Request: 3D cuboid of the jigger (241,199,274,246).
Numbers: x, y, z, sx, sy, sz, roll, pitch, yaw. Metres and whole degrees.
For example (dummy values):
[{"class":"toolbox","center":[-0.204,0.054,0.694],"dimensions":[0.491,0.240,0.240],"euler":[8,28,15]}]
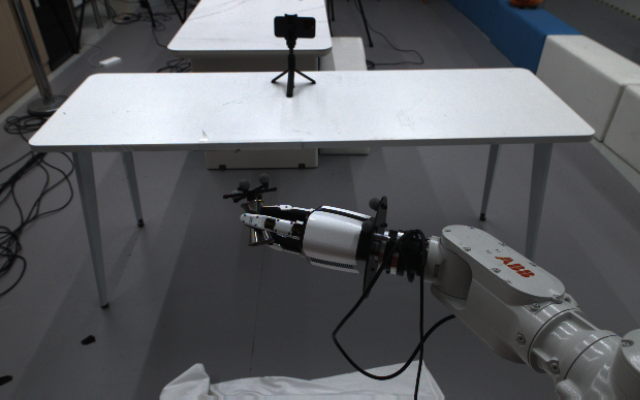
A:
[{"class":"jigger","center":[-0.101,0.037,0.782],"dimensions":[0.043,0.043,0.071],"euler":[-11,79,-18]}]
